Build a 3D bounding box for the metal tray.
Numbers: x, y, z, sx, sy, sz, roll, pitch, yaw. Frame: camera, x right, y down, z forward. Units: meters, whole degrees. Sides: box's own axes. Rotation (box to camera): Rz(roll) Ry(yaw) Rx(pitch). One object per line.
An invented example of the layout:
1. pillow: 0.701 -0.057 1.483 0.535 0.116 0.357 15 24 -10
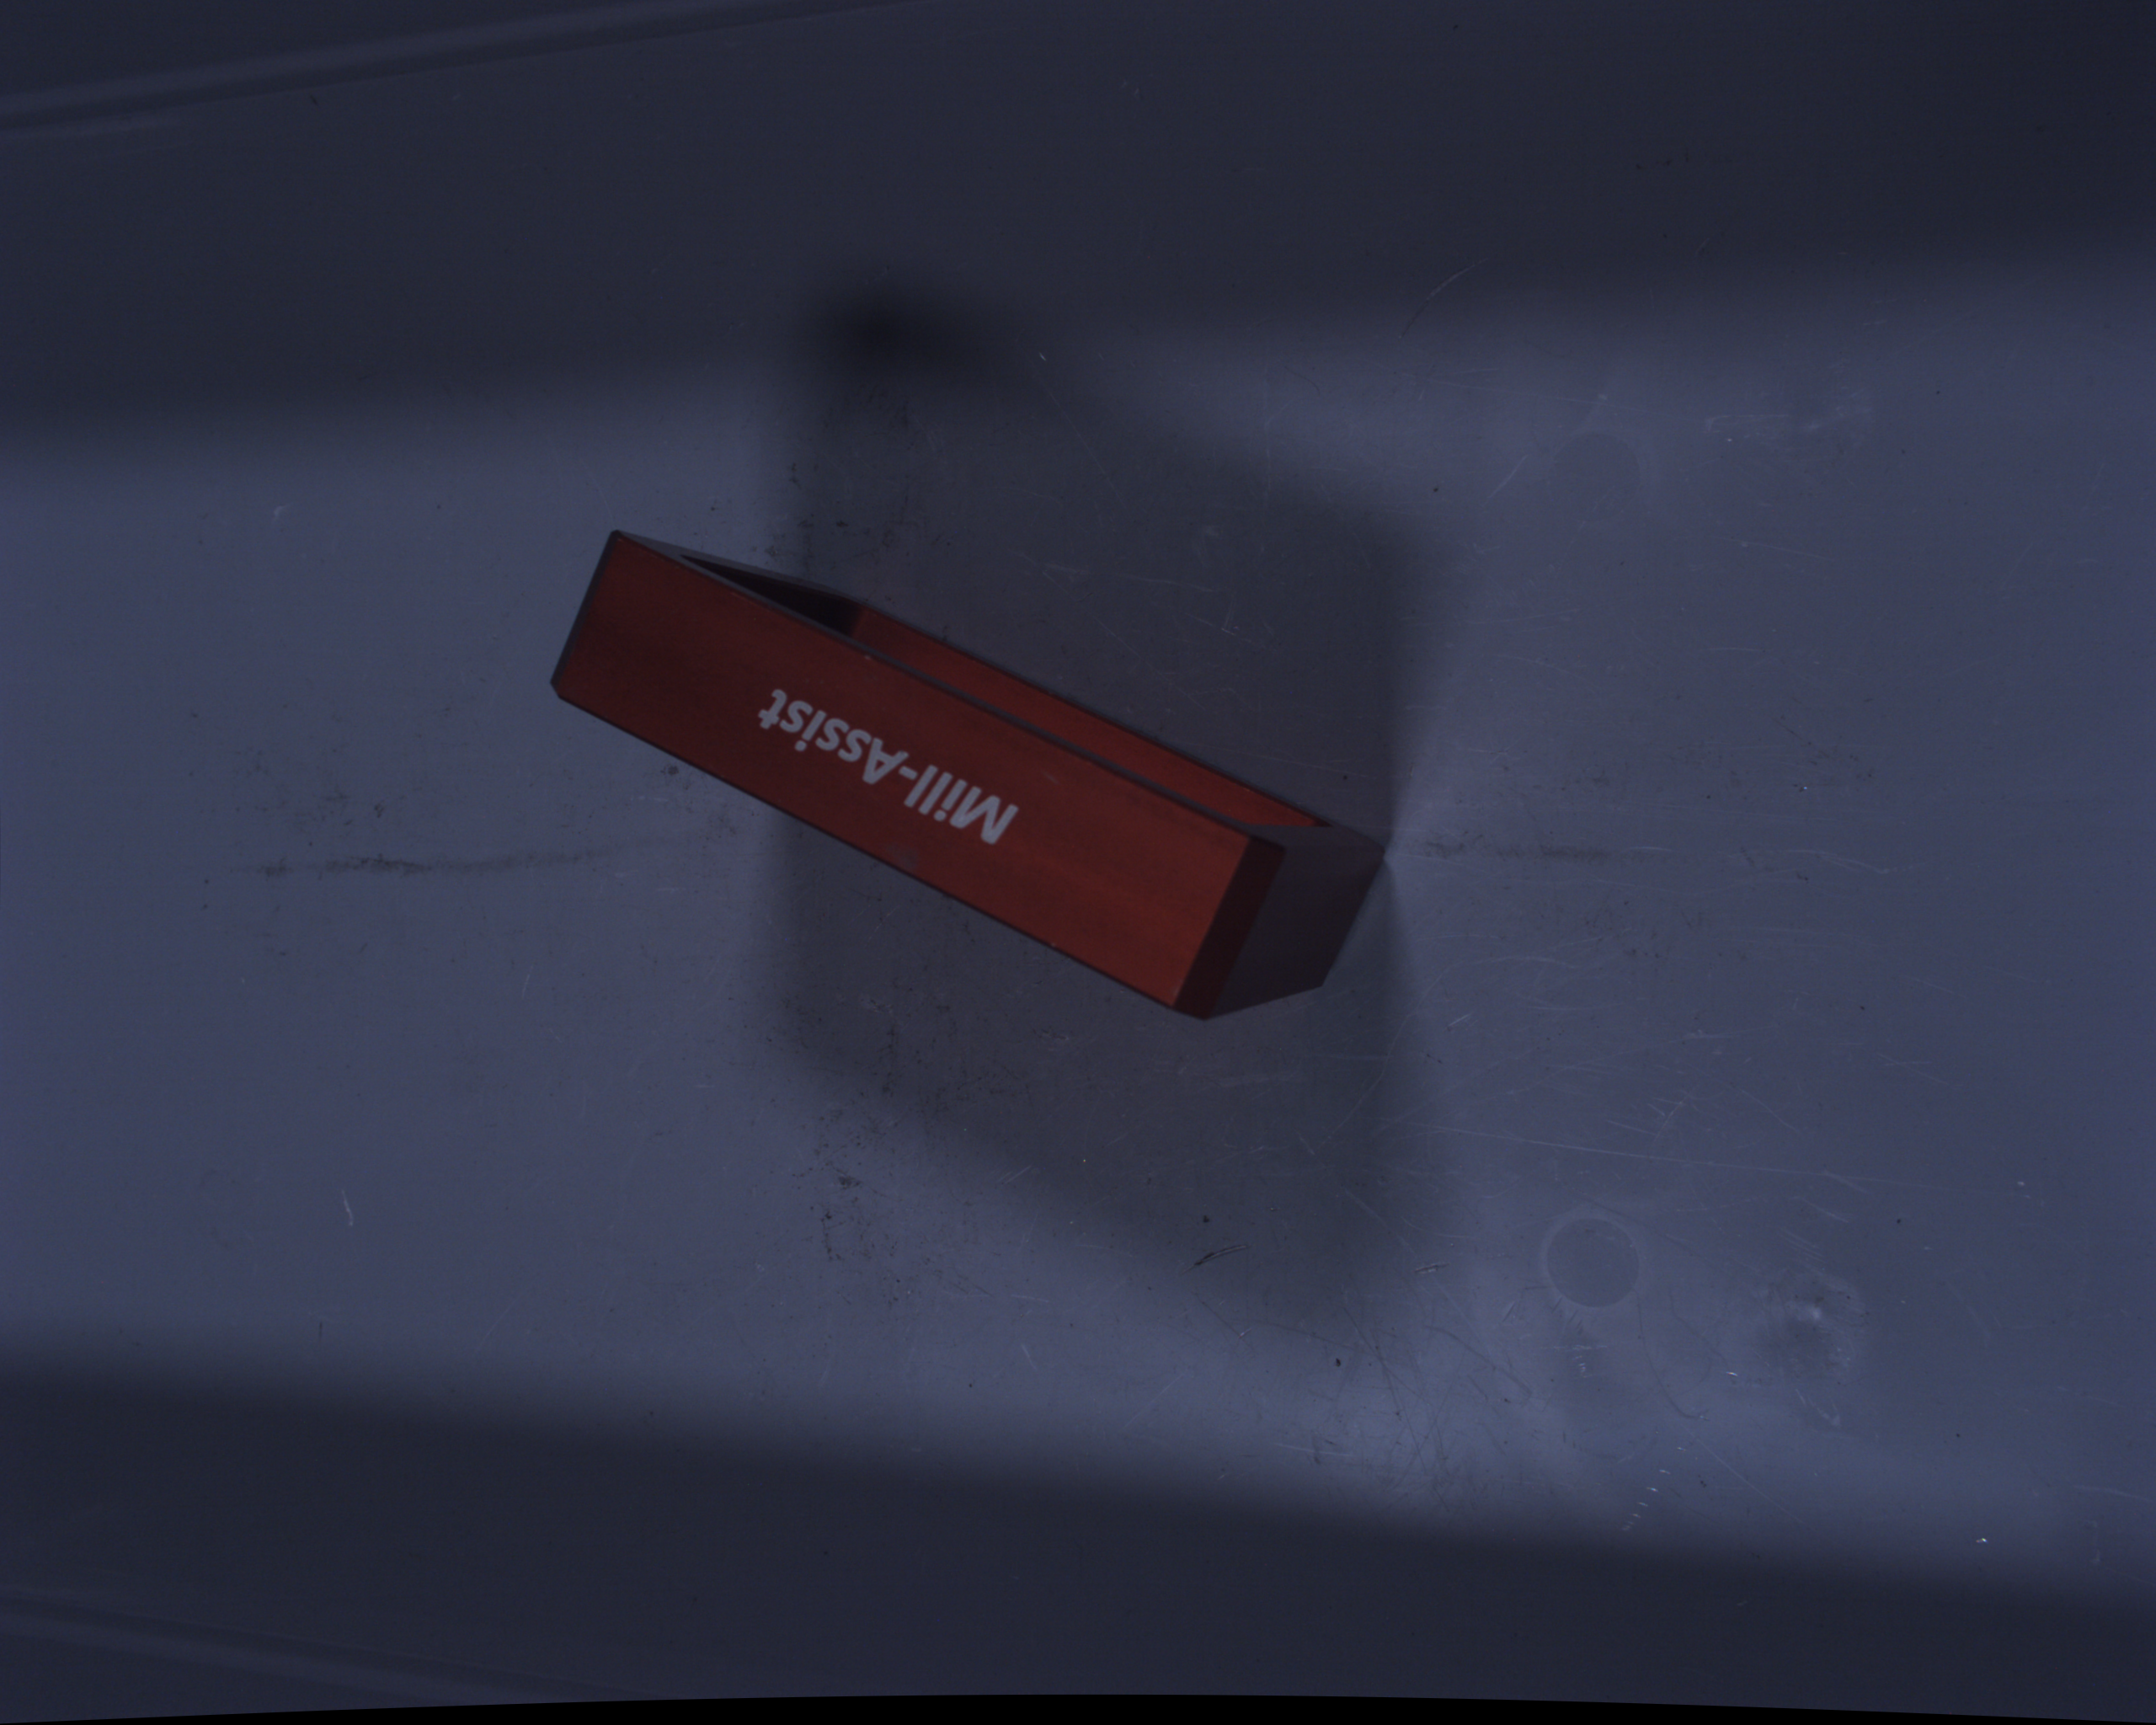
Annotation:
1. metal tray: -0.017 -0.016 0.377 0.130 0.090 0.030 26 99 17
